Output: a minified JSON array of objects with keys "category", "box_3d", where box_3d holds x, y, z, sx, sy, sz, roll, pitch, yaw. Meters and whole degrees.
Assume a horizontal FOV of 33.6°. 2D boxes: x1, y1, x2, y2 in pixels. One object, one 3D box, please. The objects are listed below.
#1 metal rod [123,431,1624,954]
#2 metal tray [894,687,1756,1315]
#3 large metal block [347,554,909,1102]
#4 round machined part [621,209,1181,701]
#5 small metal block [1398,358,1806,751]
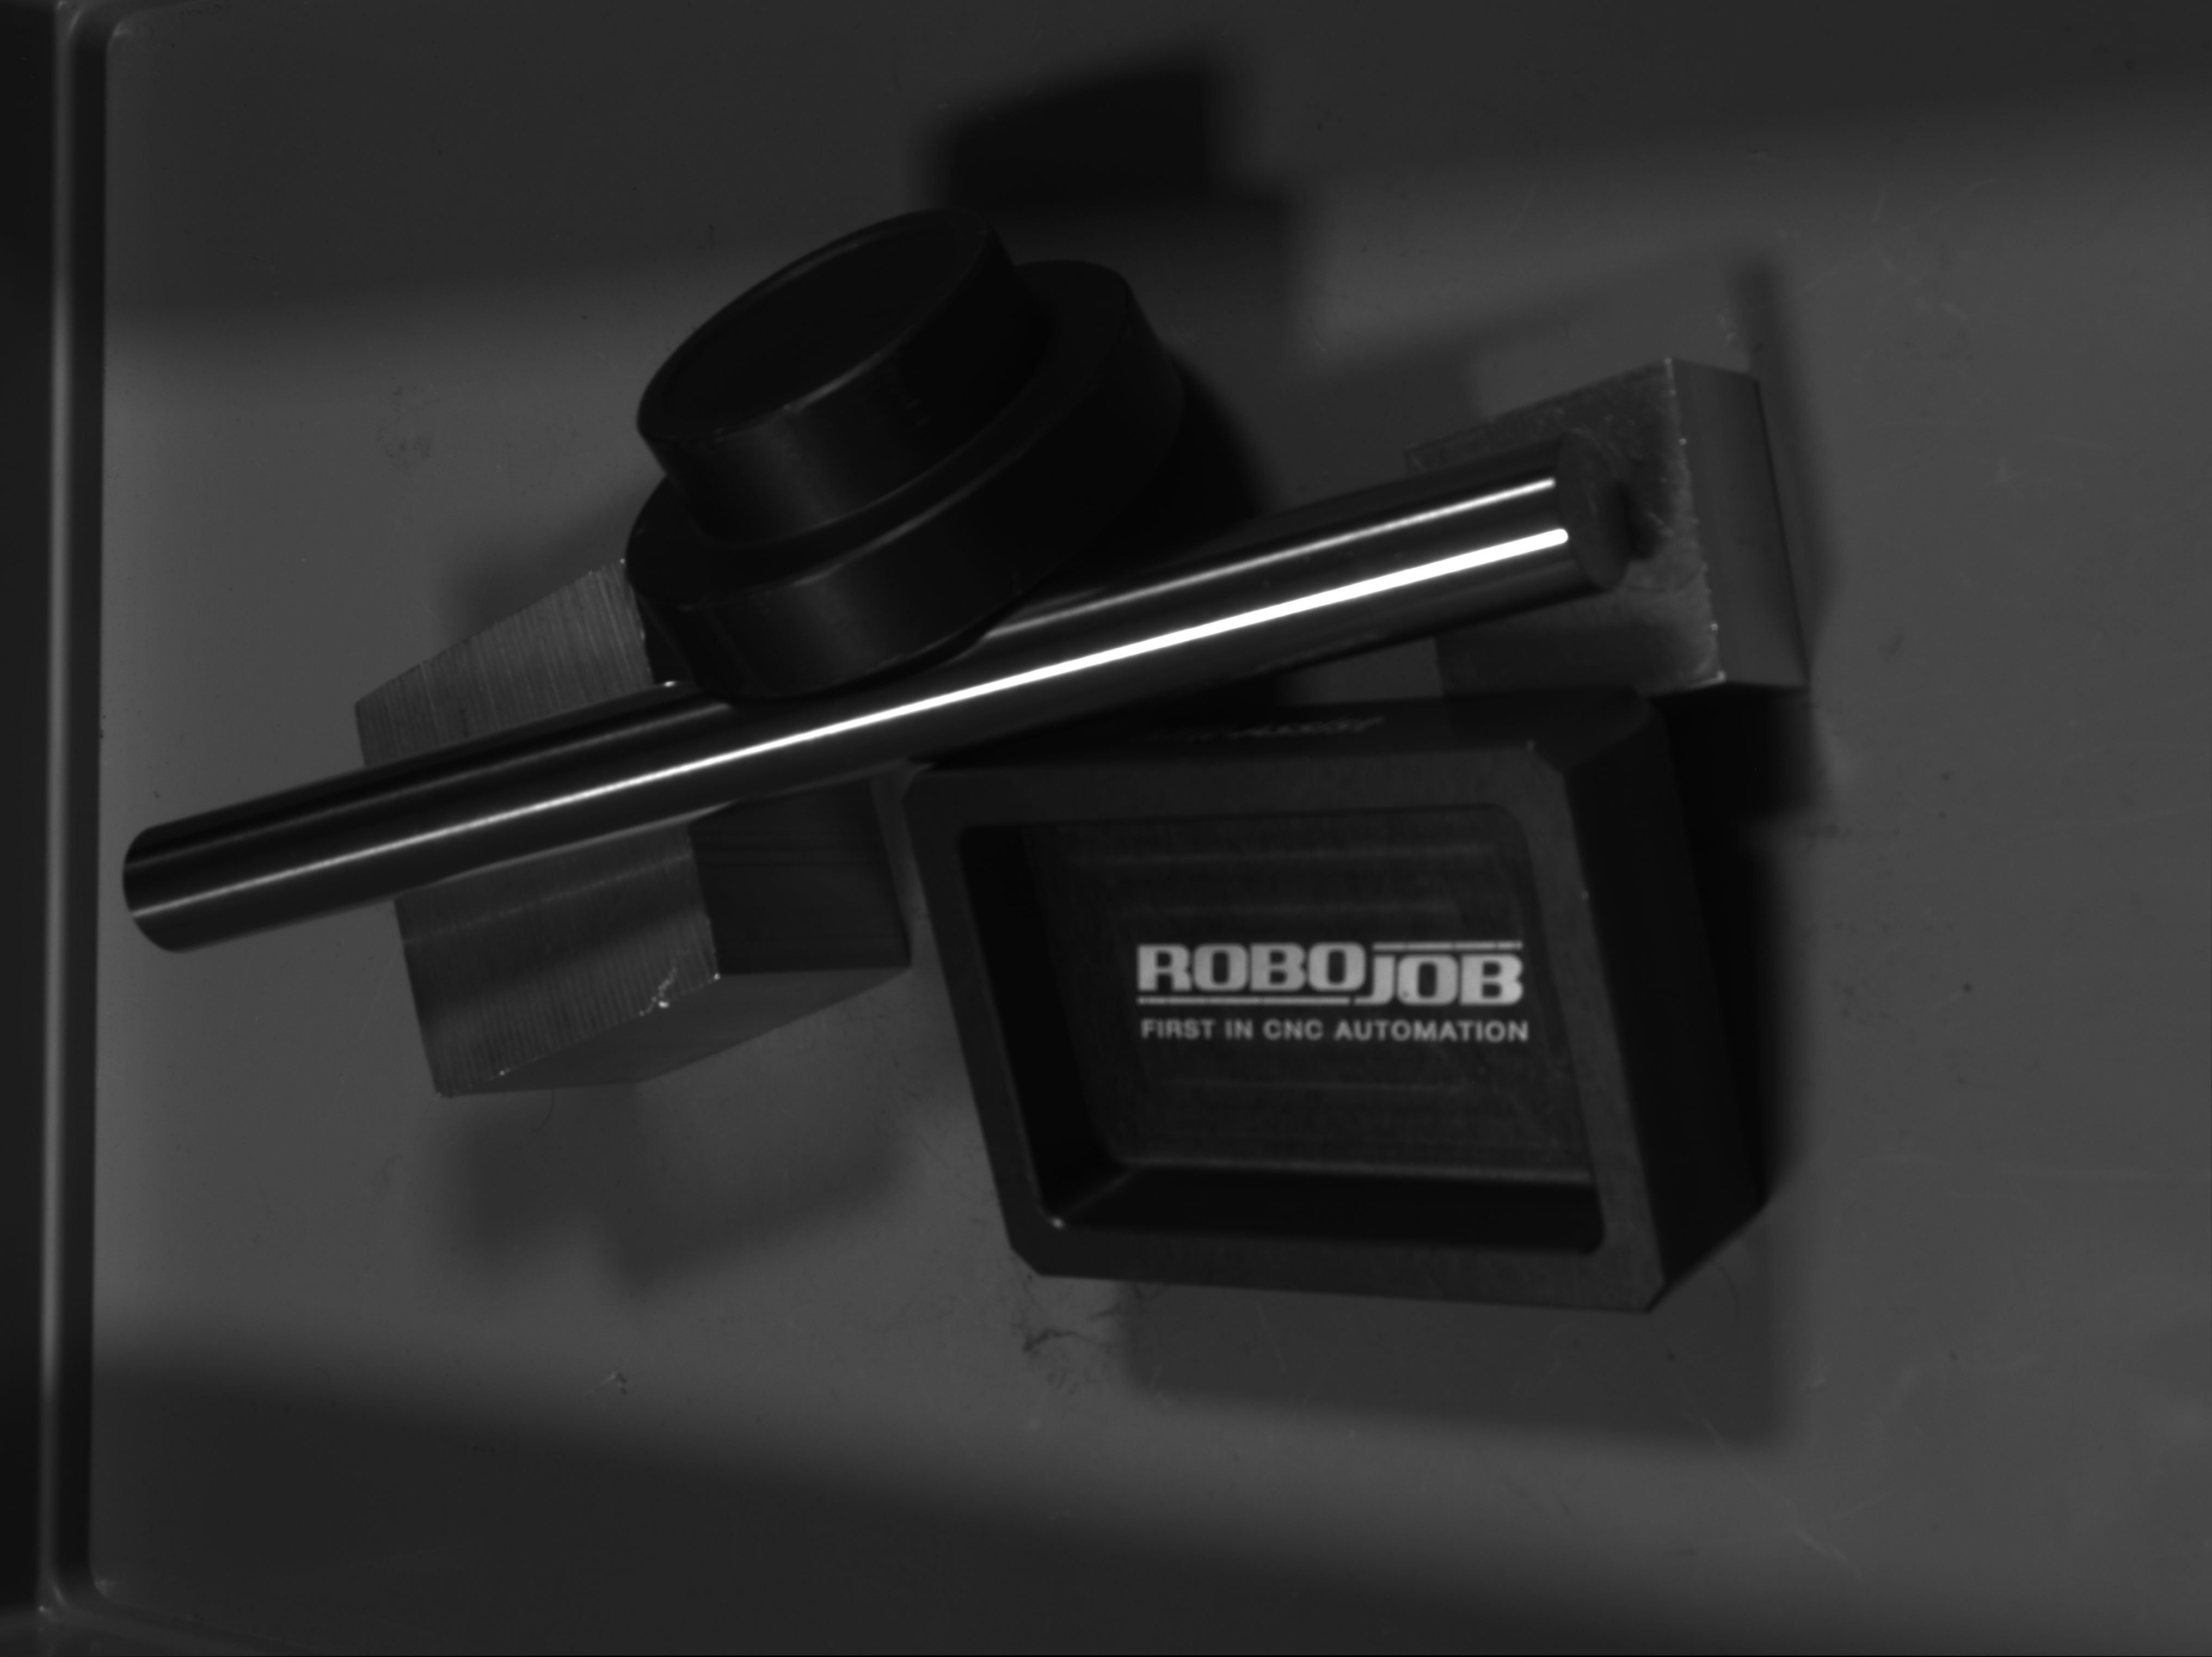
[{"category":"metal rod","box_3d":[-0.053,-0.018,0.621,0.299,0.025,0.025,-13,81,31]},{"category":"metal tray","box_3d":[0.033,0.028,0.587,0.130,0.030,0.090,-2,108,39]},{"category":"large metal block","box_3d":[-0.091,0.001,0.693,0.080,0.050,0.080,-23,76,37]},{"category":"round machined part","box_3d":[-0.040,-0.068,0.618,0.098,0.098,0.042,-6,126,39]},{"category":"small metal block","box_3d":[0.077,-0.041,0.572,0.050,0.025,0.050,-15,81,38]}]
